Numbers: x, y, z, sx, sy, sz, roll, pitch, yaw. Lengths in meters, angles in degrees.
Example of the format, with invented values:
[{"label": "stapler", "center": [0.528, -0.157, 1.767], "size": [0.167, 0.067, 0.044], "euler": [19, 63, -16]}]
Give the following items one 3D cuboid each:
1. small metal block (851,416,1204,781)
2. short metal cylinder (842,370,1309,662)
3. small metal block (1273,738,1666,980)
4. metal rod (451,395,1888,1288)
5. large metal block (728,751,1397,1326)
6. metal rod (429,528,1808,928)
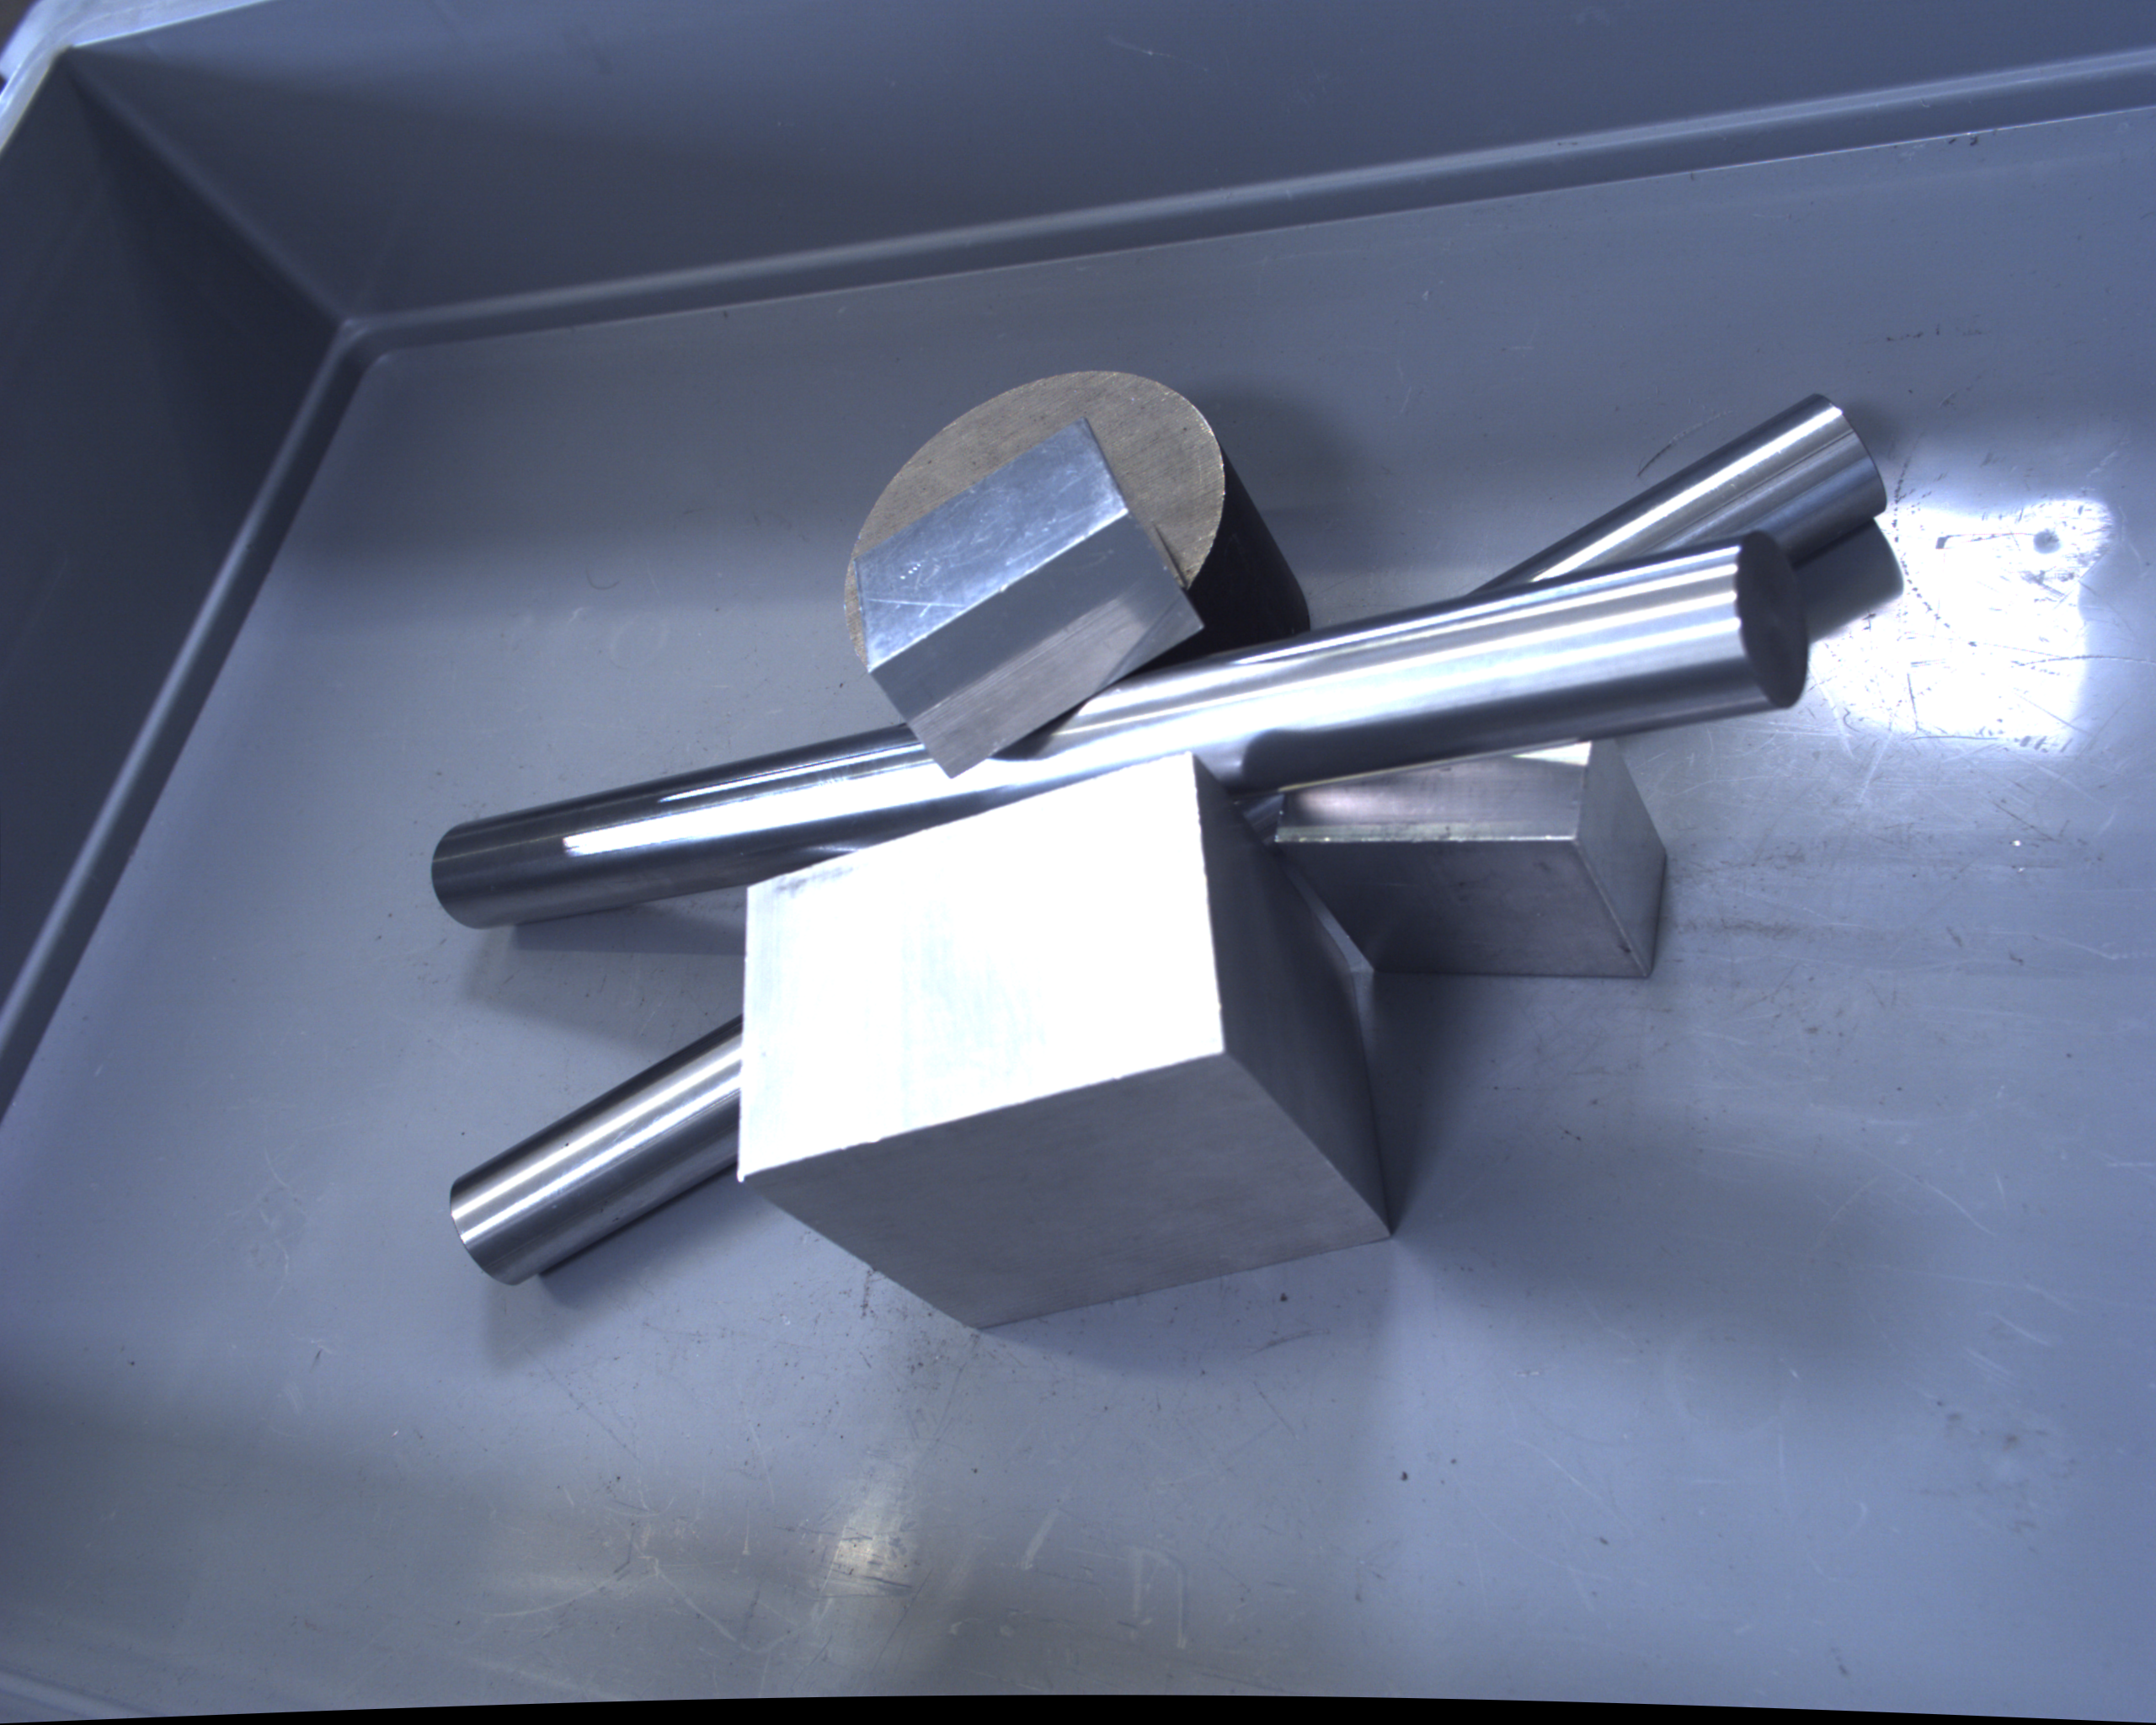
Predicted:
[{"label": "small metal block", "center": [-0.010, -0.047, 0.363], "size": [0.050, 0.025, 0.050], "euler": [-31, 29, 8]}, {"label": "short metal cylinder", "center": [0.000, -0.051, 0.419], "size": [0.080, 0.050, 0.080], "euler": [-13, 55, 20]}, {"label": "small metal block", "center": [0.068, -0.003, 0.354], "size": [0.050, 0.050, 0.025], "euler": [0, 62, 29]}, {"label": "metal rod", "center": [0.011, 0.001, 0.399], "size": [0.300, 0.025, 0.025], "euler": [-30, 52, 8]}, {"label": "large metal block", "center": [-0.001, 0.033, 0.347], "size": [0.080, 0.080, 0.050], "euler": [-17, 55, 18]}, {"label": "metal rod", "center": [-0.021, -0.015, 0.379], "size": [0.300, 0.025, 0.025], "euler": [-9, 57, 39]}]
